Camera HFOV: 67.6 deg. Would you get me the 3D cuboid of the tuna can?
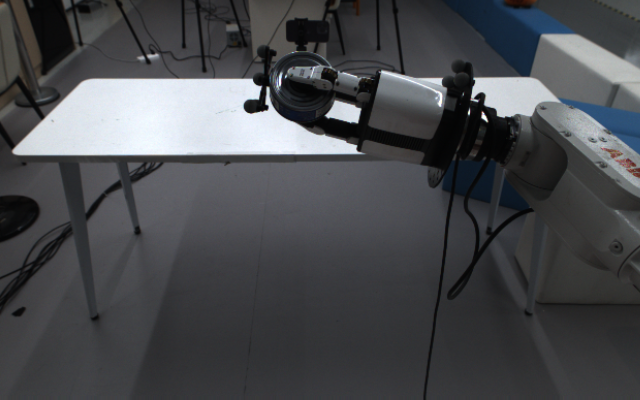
[{"bbox_3d":[-0.020,-0.145,0.614,0.085,0.034,0.085,1,73,-5],"label":"tuna can"}]
